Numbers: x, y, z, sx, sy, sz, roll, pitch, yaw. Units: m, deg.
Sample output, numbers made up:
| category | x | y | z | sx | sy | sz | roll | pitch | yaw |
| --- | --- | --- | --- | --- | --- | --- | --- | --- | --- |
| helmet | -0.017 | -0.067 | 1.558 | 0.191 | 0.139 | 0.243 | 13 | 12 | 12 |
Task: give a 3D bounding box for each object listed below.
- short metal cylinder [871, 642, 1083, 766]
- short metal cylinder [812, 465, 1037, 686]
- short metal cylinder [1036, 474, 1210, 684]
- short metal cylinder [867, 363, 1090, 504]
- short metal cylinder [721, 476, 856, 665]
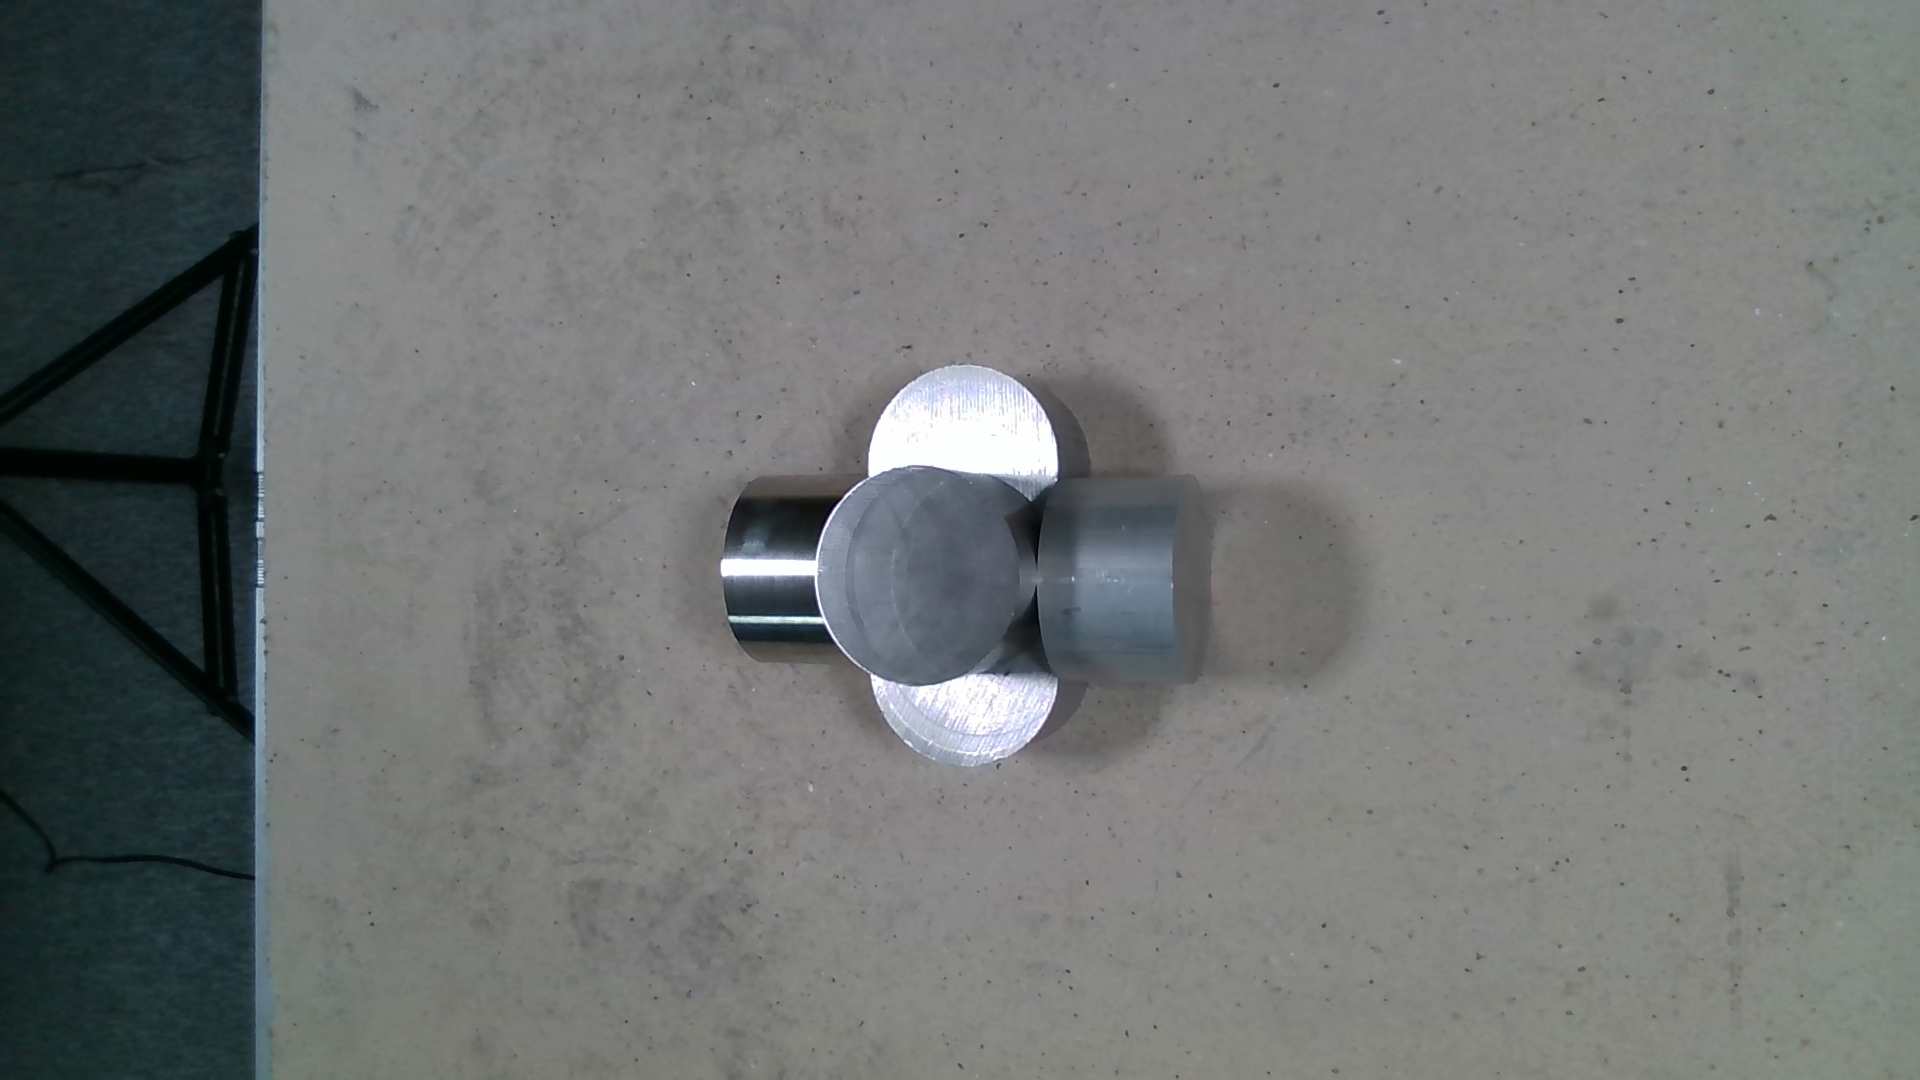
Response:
| category | x | y | z | sx | sy | sz | roll | pitch | yaw |
| --- | --- | --- | --- | --- | --- | --- | --- | --- | --- |
| short metal cylinder | 0.009 | 0.049 | 0.569 | 0.080 | 0.050 | 0.080 | 0 | 90 | 20 |
| short metal cylinder | -0.009 | 0.013 | 0.522 | 0.080 | 0.050 | 0.080 | 0 | 90 | 20 |
| short metal cylinder | 0.065 | 0.015 | 0.533 | 0.050 | 0.080 | 0.080 | 0 | 90 | 20 |
| short metal cylinder | 0.008 | -0.030 | 0.569 | 0.080 | 0.050 | 0.080 | 0 | 90 | 20 |
| short metal cylinder | -0.058 | 0.012 | 0.578 | 0.050 | 0.080 | 0.080 | 0 | 90 | 20 |
